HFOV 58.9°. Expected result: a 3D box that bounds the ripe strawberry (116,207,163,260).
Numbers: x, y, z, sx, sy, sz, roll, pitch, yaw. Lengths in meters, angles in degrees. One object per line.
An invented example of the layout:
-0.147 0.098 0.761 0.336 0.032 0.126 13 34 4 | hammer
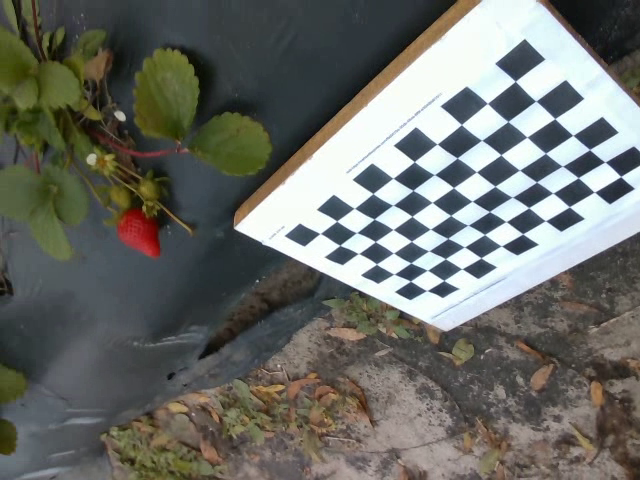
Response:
-0.048 -0.001 0.144 0.018 0.017 0.014 -40 -7 25 | ripe strawberry
